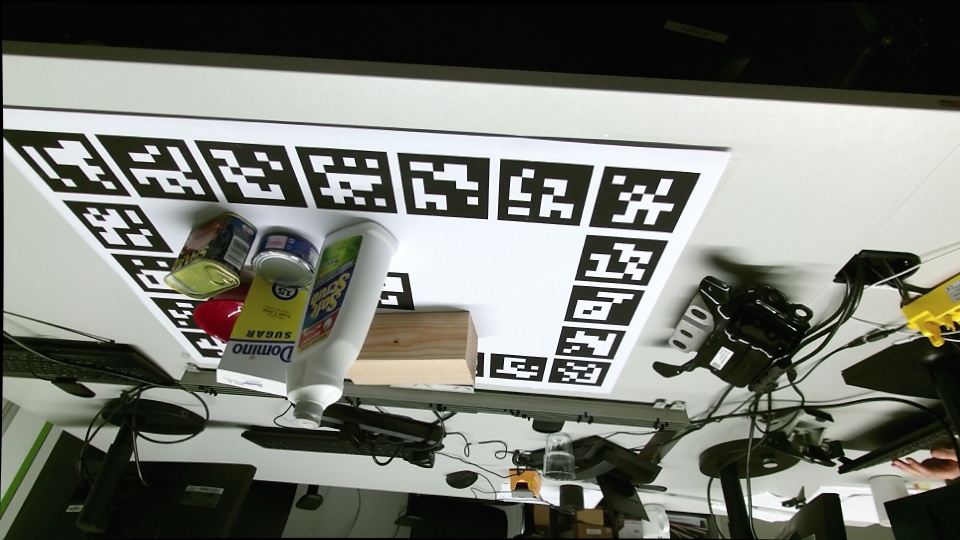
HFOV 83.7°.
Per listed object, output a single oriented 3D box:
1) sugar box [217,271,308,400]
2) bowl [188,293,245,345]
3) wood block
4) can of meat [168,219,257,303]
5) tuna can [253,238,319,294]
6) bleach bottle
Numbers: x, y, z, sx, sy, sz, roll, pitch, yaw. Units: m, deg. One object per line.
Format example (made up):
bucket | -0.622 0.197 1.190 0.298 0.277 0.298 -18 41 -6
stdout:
sugar box | -0.293 0.086 0.748 0.093 0.175 0.045 14 140 -17
bowl | -0.369 0.082 0.854 0.162 0.055 0.162 0 143 0
wood block | -0.112 0.137 0.872 0.207 0.089 0.091 -2 138 10
can of meat | -0.352 -0.011 0.713 0.102 0.083 0.058 -15 141 27
tuna can | -0.265 -0.005 0.741 0.086 0.033 0.086 2 139 2
bleach bottle | -0.173 0.069 0.655 0.103 0.249 0.068 -14 140 22
